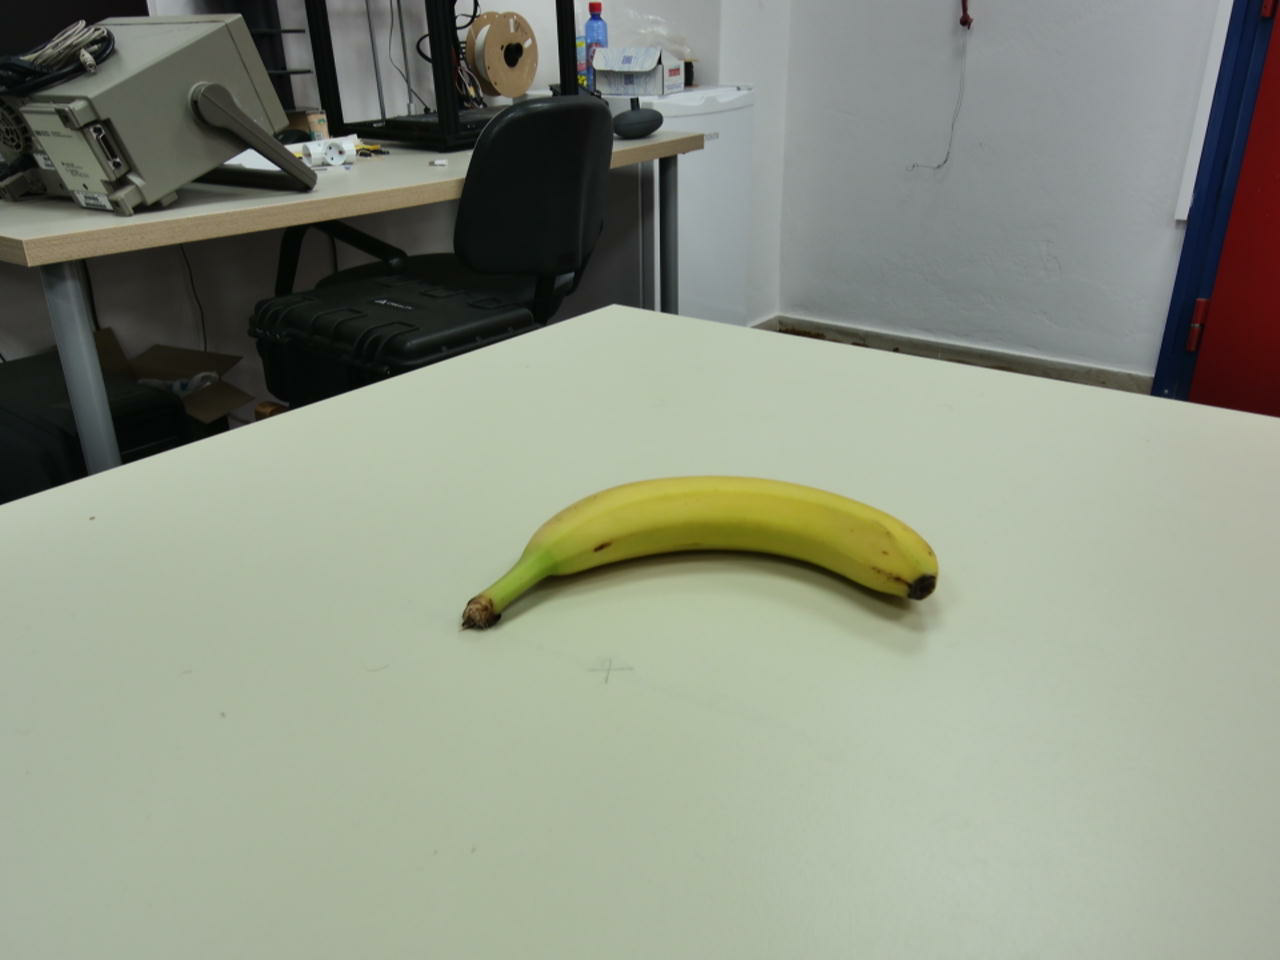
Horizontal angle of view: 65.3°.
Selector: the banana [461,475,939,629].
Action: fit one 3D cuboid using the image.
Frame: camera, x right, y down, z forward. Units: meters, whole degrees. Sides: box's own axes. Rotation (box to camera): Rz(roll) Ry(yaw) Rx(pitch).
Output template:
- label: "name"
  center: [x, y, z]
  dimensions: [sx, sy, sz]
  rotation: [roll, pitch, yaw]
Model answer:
- label: "banana"
  center: [0.026, 0.028, 0.446]
  dimensions: [0.196, 0.041, 0.094]
  rotation: [1, 23, 3]
